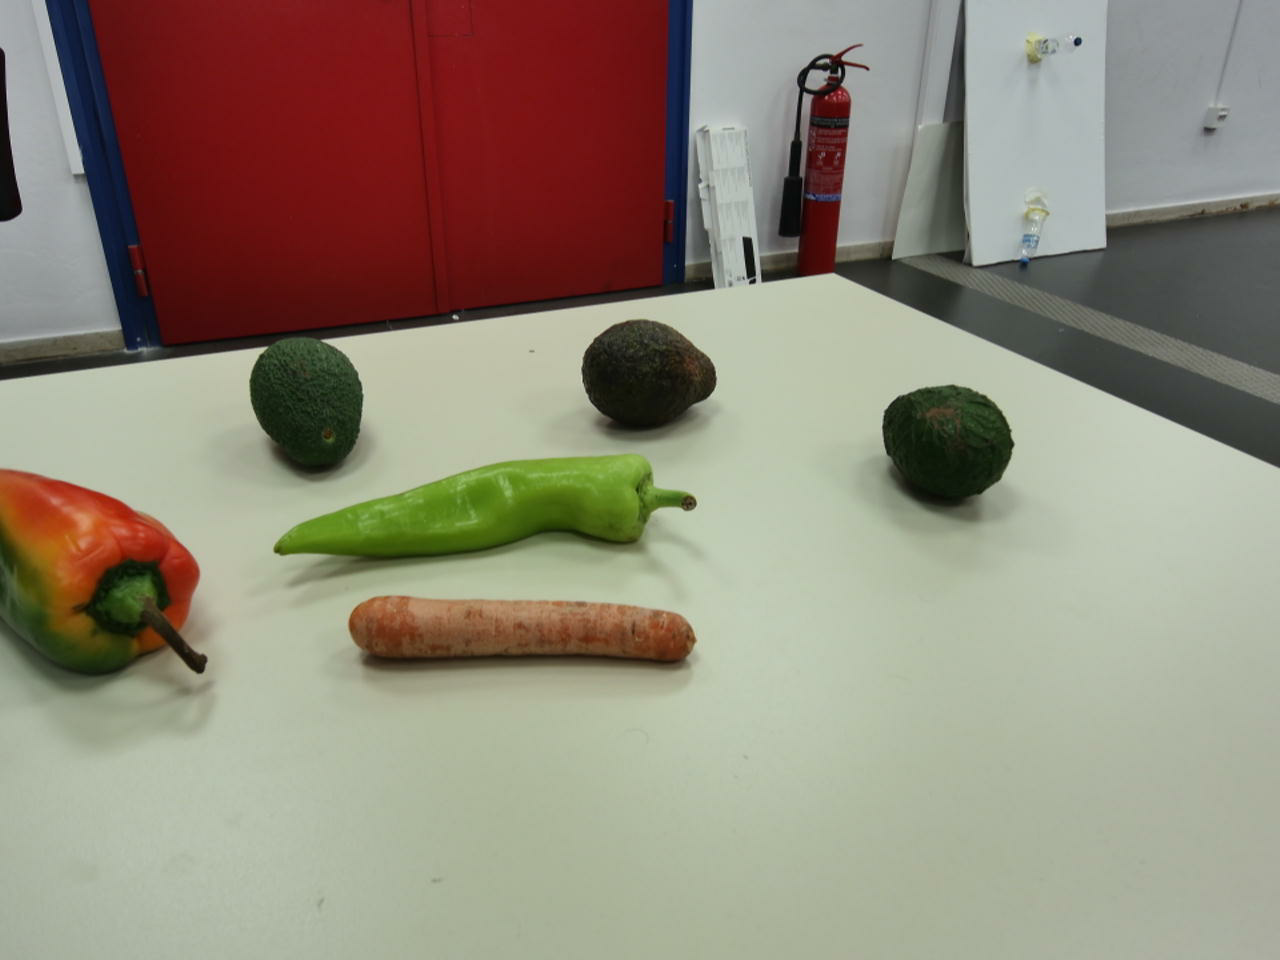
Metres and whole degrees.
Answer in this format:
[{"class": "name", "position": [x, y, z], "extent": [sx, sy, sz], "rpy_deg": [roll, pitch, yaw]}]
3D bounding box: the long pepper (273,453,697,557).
[{"class": "long pepper", "position": [-0.077, 0.014, 0.513], "extent": [0.204, 0.045, 0.065], "rpy_deg": [-4, 26, -8]}]
